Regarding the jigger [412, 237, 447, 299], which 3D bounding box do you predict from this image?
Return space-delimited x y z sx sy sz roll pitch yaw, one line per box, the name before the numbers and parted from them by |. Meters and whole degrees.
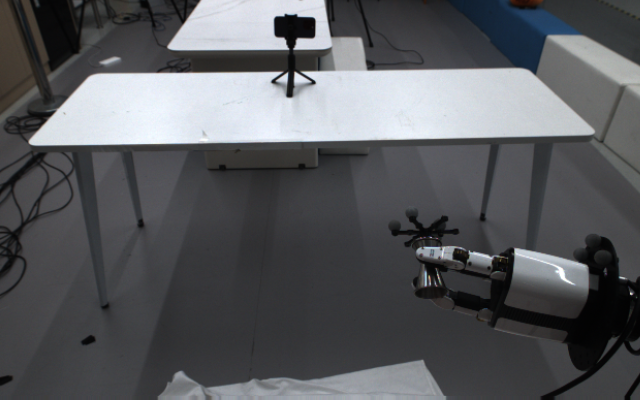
jigger | 0.139 0.083 0.615 0.043 0.043 0.071 2 59 0
